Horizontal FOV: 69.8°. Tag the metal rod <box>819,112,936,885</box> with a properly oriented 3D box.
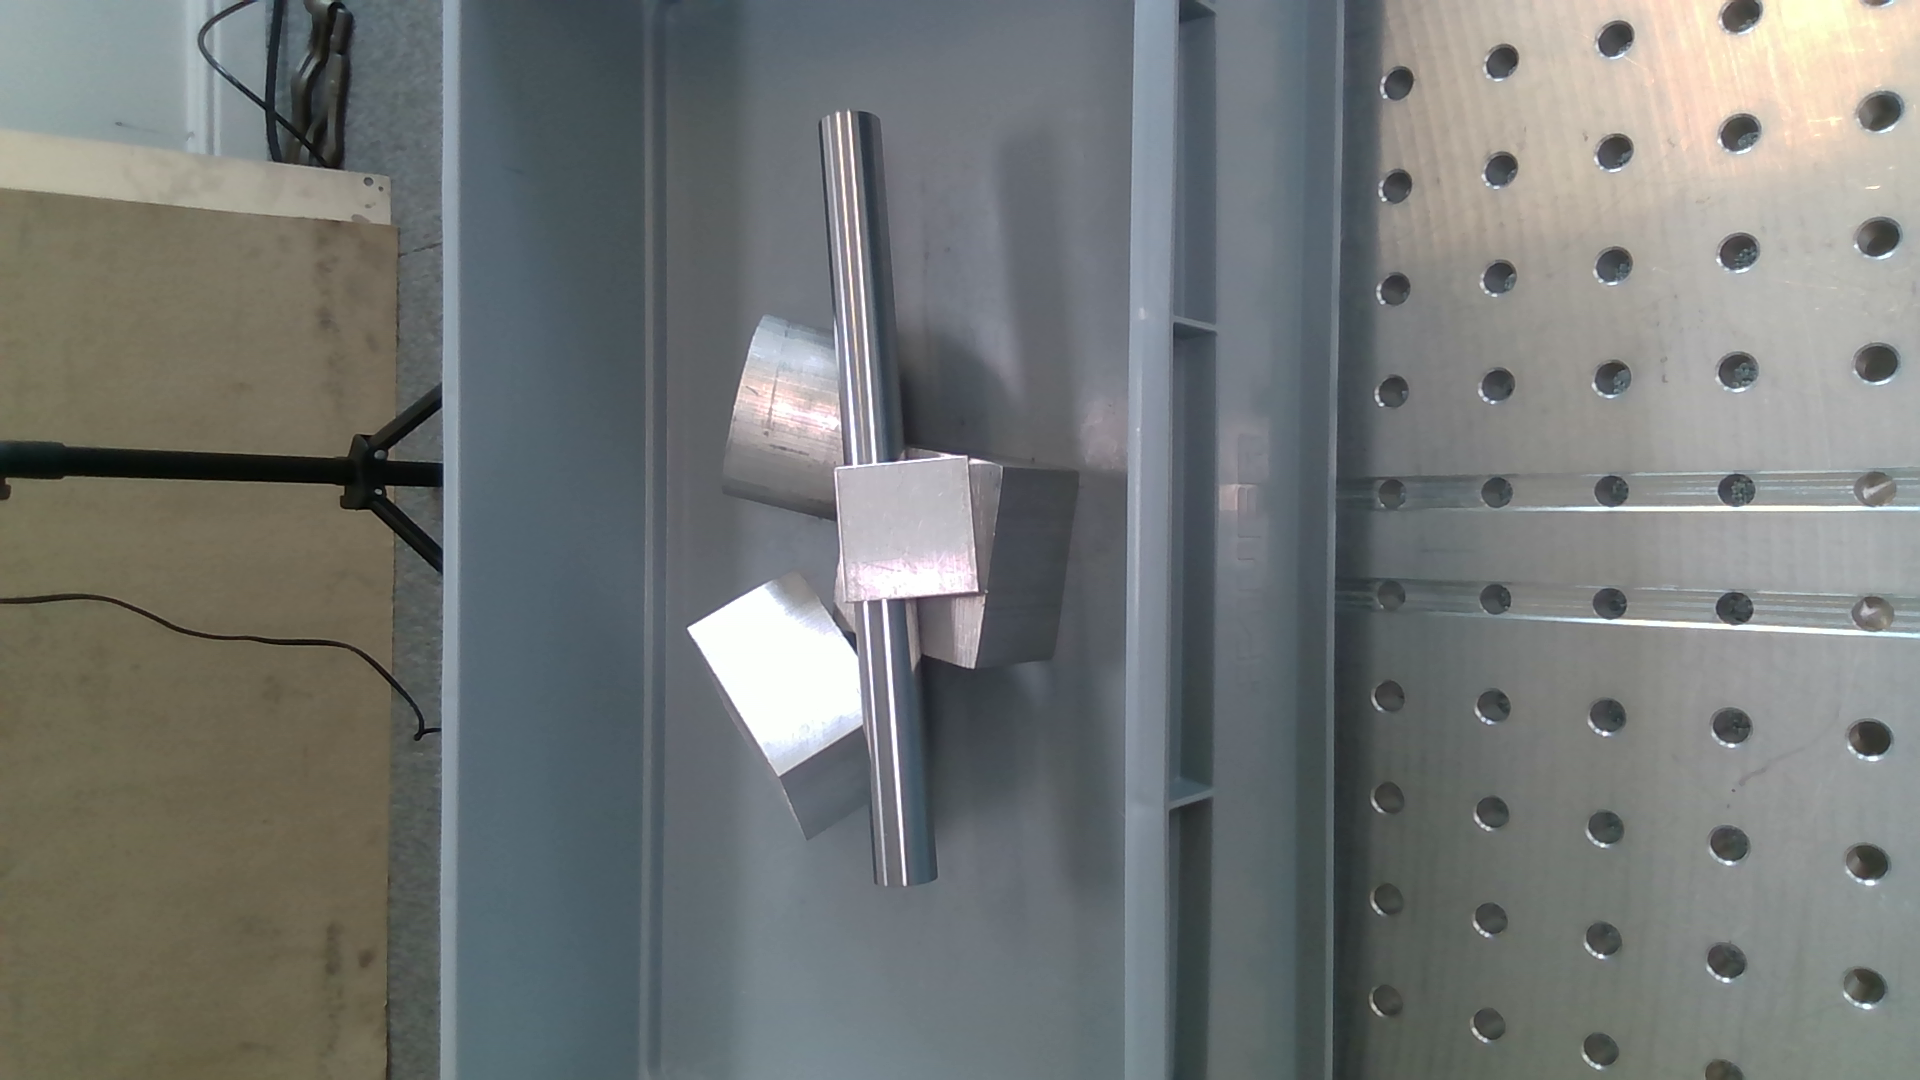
[{"bbox_3d":[-0.033,-0.018,0.543,0.025,0.025,0.300,-7,86,40],"label":"metal rod"}]

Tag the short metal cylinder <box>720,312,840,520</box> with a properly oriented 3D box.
[{"bbox_3d":[-0.069,-0.053,0.595,0.050,0.080,0.080,14,103,-4],"label":"short metal cylinder"}]

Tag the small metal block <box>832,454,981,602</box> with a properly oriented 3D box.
[{"bbox_3d":[-0.019,-0.004,0.516,0.050,0.025,0.050,-5,86,5],"label":"small metal block"}]

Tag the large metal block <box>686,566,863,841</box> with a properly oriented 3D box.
[{"bbox_3d":[-0.069,0.072,0.596,0.080,0.050,0.080,53,165,27],"label":"large metal block"}]

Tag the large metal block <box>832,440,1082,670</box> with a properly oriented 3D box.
[{"bbox_3d":[-0.003,0.003,0.567,0.080,0.050,0.080,14,99,39],"label":"large metal block"}]
